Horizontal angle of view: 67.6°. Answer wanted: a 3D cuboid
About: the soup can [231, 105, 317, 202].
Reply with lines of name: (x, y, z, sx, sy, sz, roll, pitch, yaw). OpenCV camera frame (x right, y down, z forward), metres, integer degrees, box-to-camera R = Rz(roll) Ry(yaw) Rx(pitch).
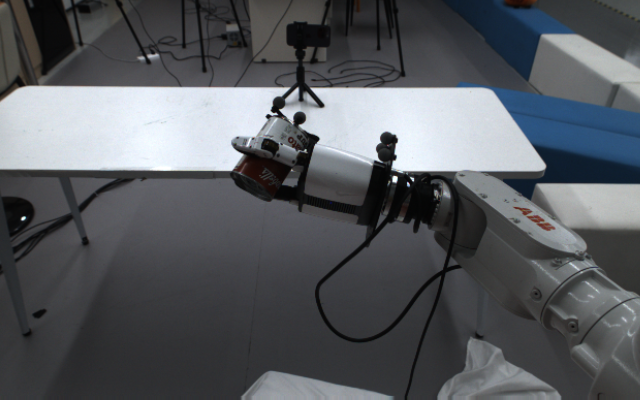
soup can: (-0.068, -0.058, 0.667, 0.067, 0.067, 0.101, 23, 71, 27)
